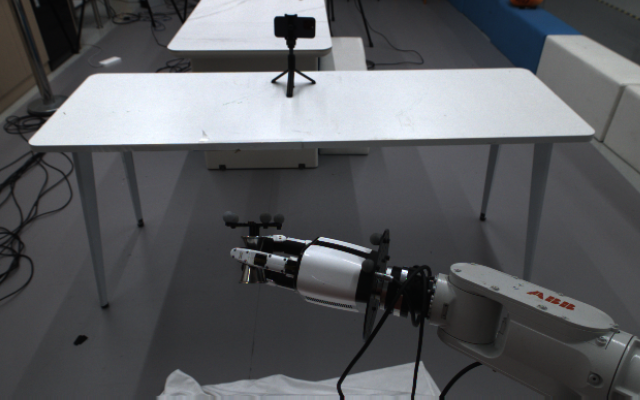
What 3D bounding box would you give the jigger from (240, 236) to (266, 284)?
[{"bbox_3d":[-0.098,0.088,0.713,0.043,0.071,0.043,1,-5,0],"label":"jigger"}]
